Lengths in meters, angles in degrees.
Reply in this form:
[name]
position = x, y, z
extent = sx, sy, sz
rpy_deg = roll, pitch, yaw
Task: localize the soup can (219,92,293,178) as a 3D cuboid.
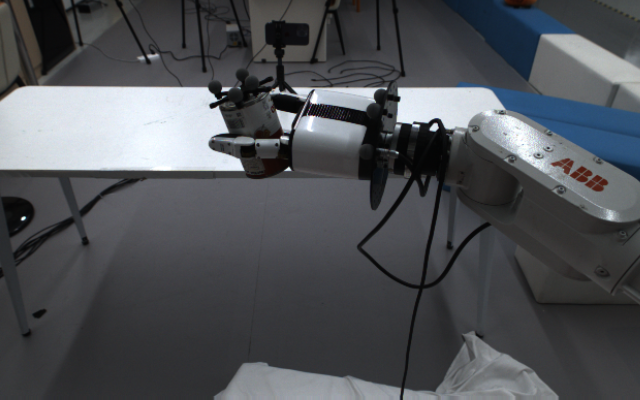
[soup can]
position = -0.081, -0.087, 0.627
extent = 0.067, 0.101, 0.067
rpy_deg = -13, 31, 8
